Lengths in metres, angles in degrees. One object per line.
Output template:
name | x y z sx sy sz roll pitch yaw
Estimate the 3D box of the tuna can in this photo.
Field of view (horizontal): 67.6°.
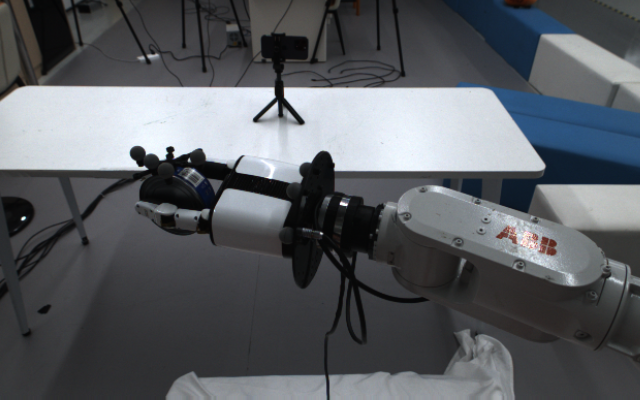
tuna can | -0.170 -0.001 0.585 0.085 0.085 0.034 11 33 12
